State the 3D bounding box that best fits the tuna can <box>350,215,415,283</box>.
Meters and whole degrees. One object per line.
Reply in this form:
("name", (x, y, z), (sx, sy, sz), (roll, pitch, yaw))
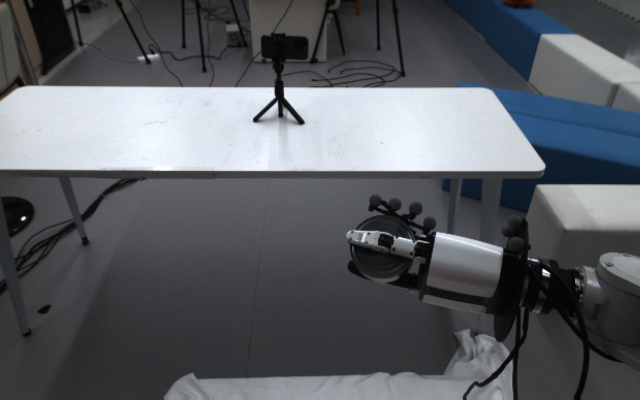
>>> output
("tuna can", (0.085, 0.061, 0.641), (0.085, 0.034, 0.085), (-4, 65, 10))
